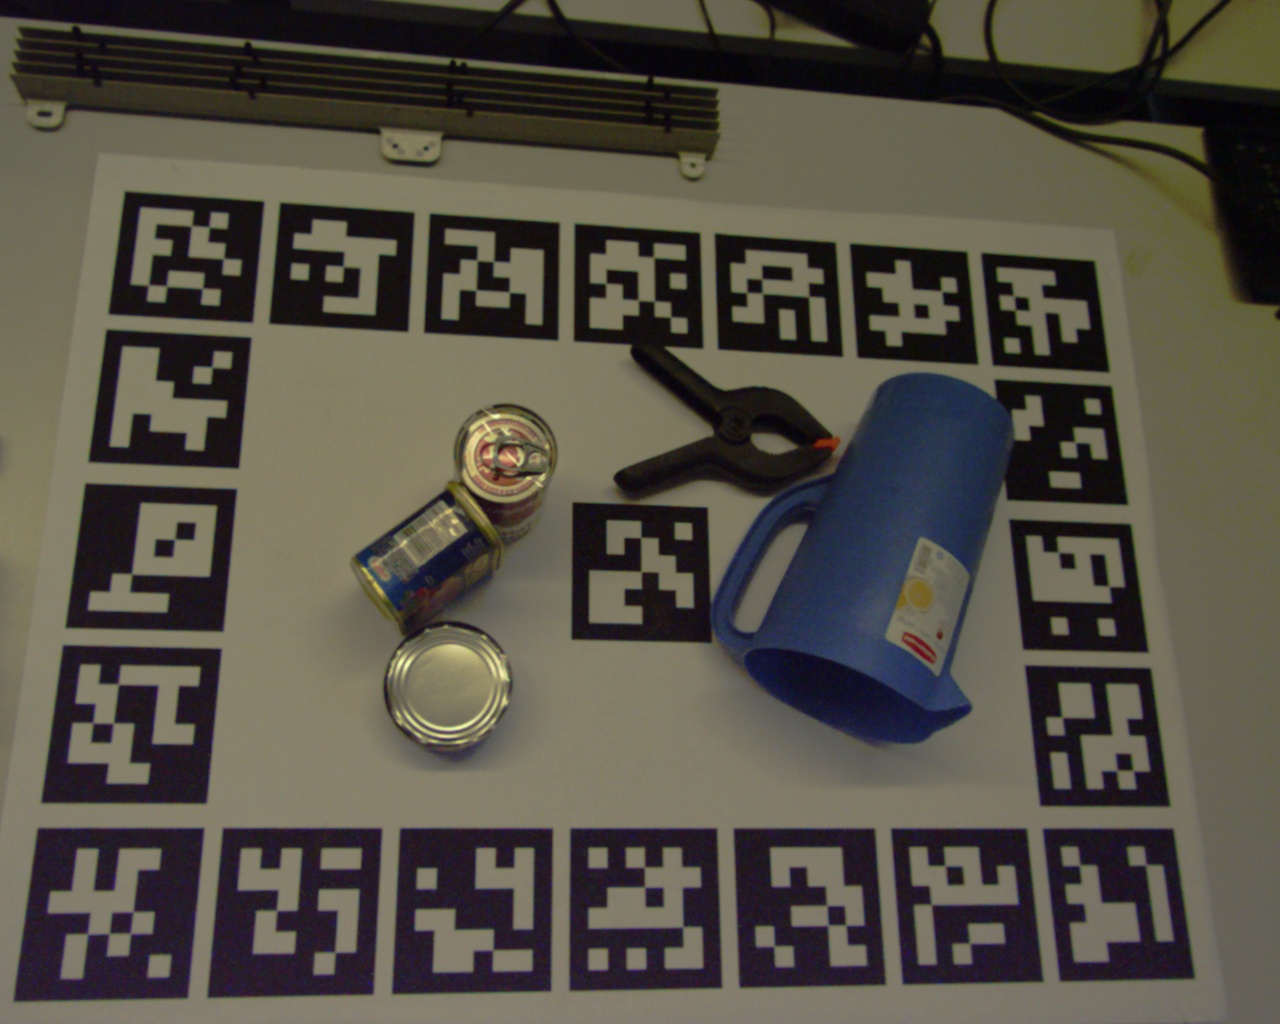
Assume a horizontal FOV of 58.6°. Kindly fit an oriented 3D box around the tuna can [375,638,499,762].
[{"bbox_3d":[-0.144,0.134,0.810,0.085,0.034,0.086,2,76,-8],"label":"tuna can"}]

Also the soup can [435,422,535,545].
[{"bbox_3d":[-0.112,-0.017,0.825,0.068,0.102,0.068,1,76,-6],"label":"soup can"}]

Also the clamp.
[{"bbox_3d":[0.036,-0.057,0.900,0.164,0.037,0.122,5,70,-11],"label":"clamp"}]

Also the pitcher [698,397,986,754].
[{"bbox_3d":[0.158,0.038,0.827,0.190,0.132,0.242,15,64,19],"label":"pitcher"}]

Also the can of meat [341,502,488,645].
[{"bbox_3d":[-0.157,0.046,0.795,0.083,0.102,0.058,-34,84,-13],"label":"can of meat"}]
